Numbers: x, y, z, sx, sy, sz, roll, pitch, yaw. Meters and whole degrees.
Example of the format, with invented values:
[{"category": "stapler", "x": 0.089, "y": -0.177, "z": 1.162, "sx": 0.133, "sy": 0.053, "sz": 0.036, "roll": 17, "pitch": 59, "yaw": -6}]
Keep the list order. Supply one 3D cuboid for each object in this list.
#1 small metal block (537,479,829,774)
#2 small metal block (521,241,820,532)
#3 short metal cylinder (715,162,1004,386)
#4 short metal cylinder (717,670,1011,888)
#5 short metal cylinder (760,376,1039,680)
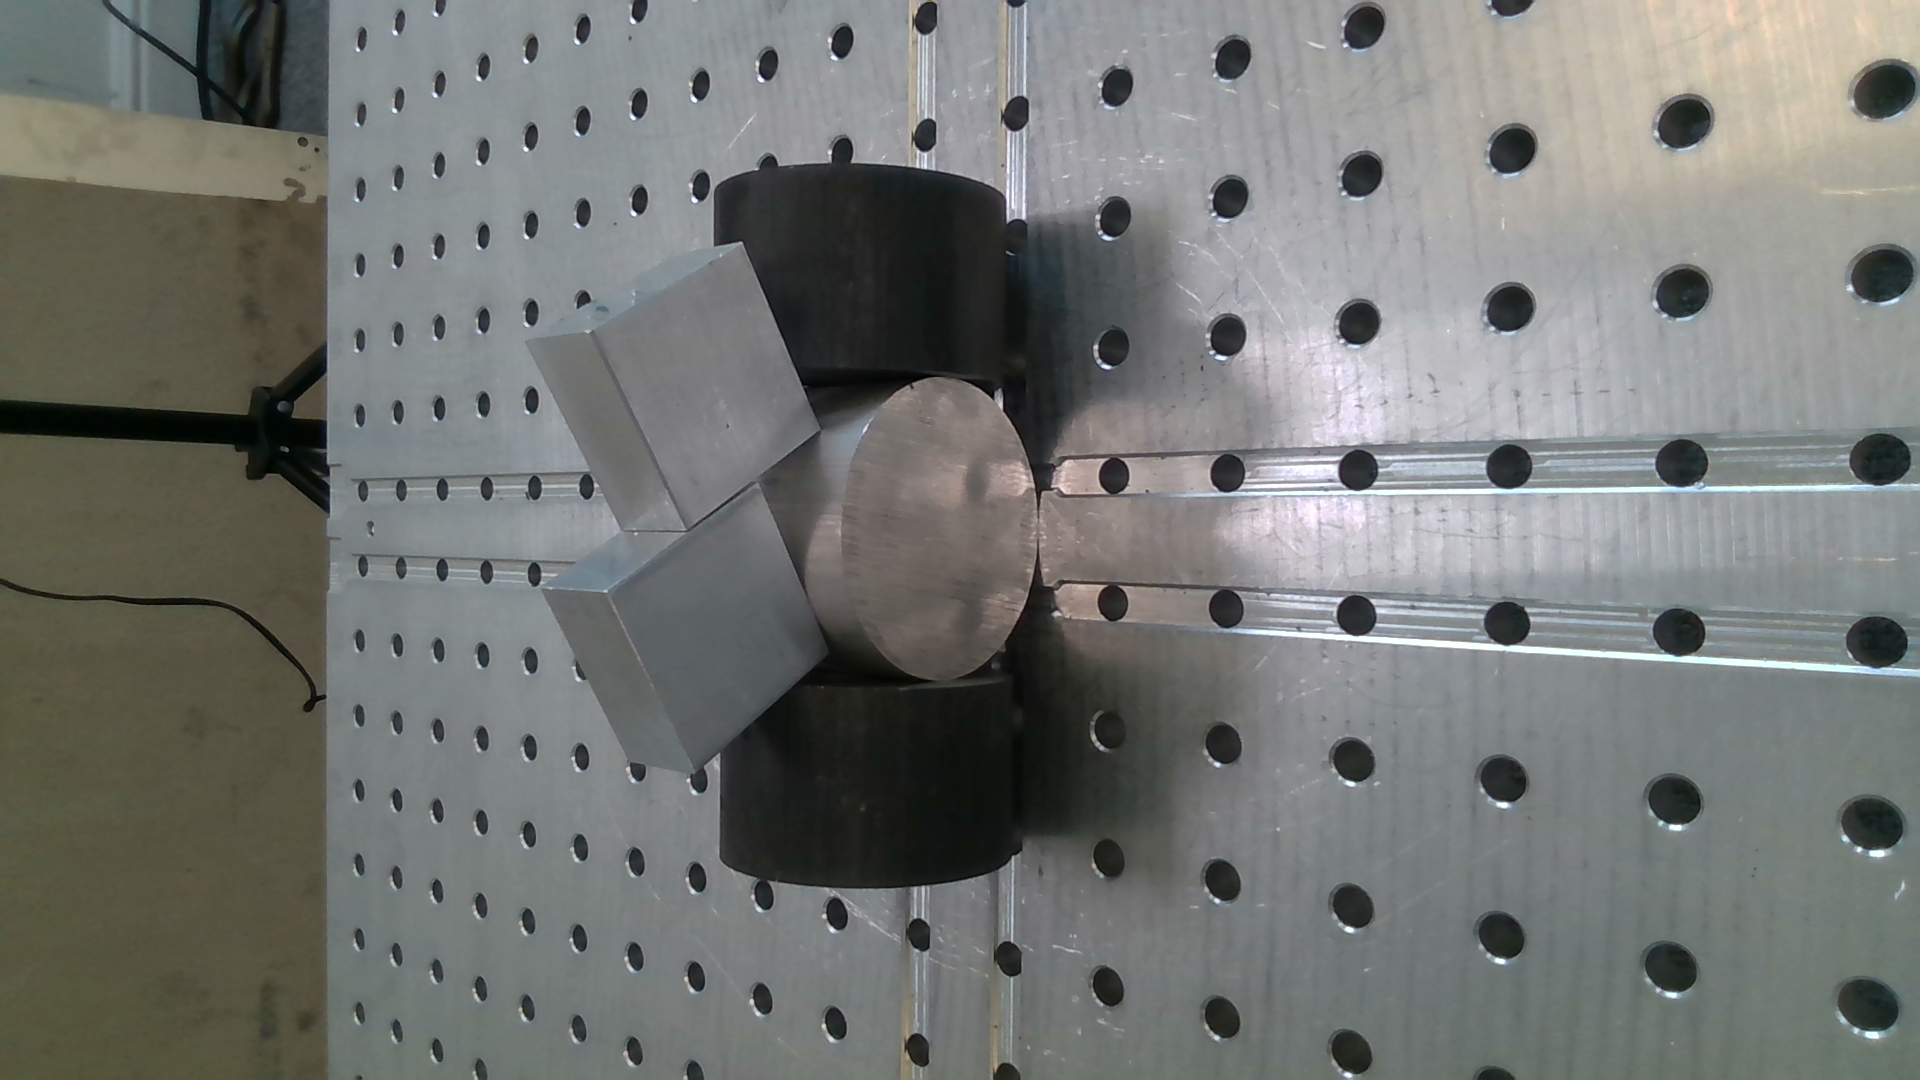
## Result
[{"category": "small metal block", "x": -0.065, "y": 0.020, "z": 0.332, "sx": 0.025, "sy": 0.050, "sz": 0.050, "roll": 1, "pitch": 122, "yaw": 40}, {"category": "small metal block", "x": -0.067, "y": -0.036, "z": 0.327, "sx": 0.025, "sy": 0.050, "sz": 0.050, "roll": 1, "pitch": 122, "yaw": 40}, {"category": "short metal cylinder", "x": -0.028, "y": -0.069, "z": 0.380, "sx": 0.080, "sy": 0.080, "sz": 0.050, "roll": 1, "pitch": 91, "yaw": 40}, {"category": "short metal cylinder", "x": -0.026, "y": 0.061, "z": 0.380, "sx": 0.080, "sy": 0.080, "sz": 0.050, "roll": 1, "pitch": 90, "yaw": 40}, {"category": "short metal cylinder", "x": -0.023, "y": -0.004, "z": 0.377, "sx": 0.050, "sy": 0.080, "sz": 0.080, "roll": 2, "pitch": 91, "yaw": 40}]
